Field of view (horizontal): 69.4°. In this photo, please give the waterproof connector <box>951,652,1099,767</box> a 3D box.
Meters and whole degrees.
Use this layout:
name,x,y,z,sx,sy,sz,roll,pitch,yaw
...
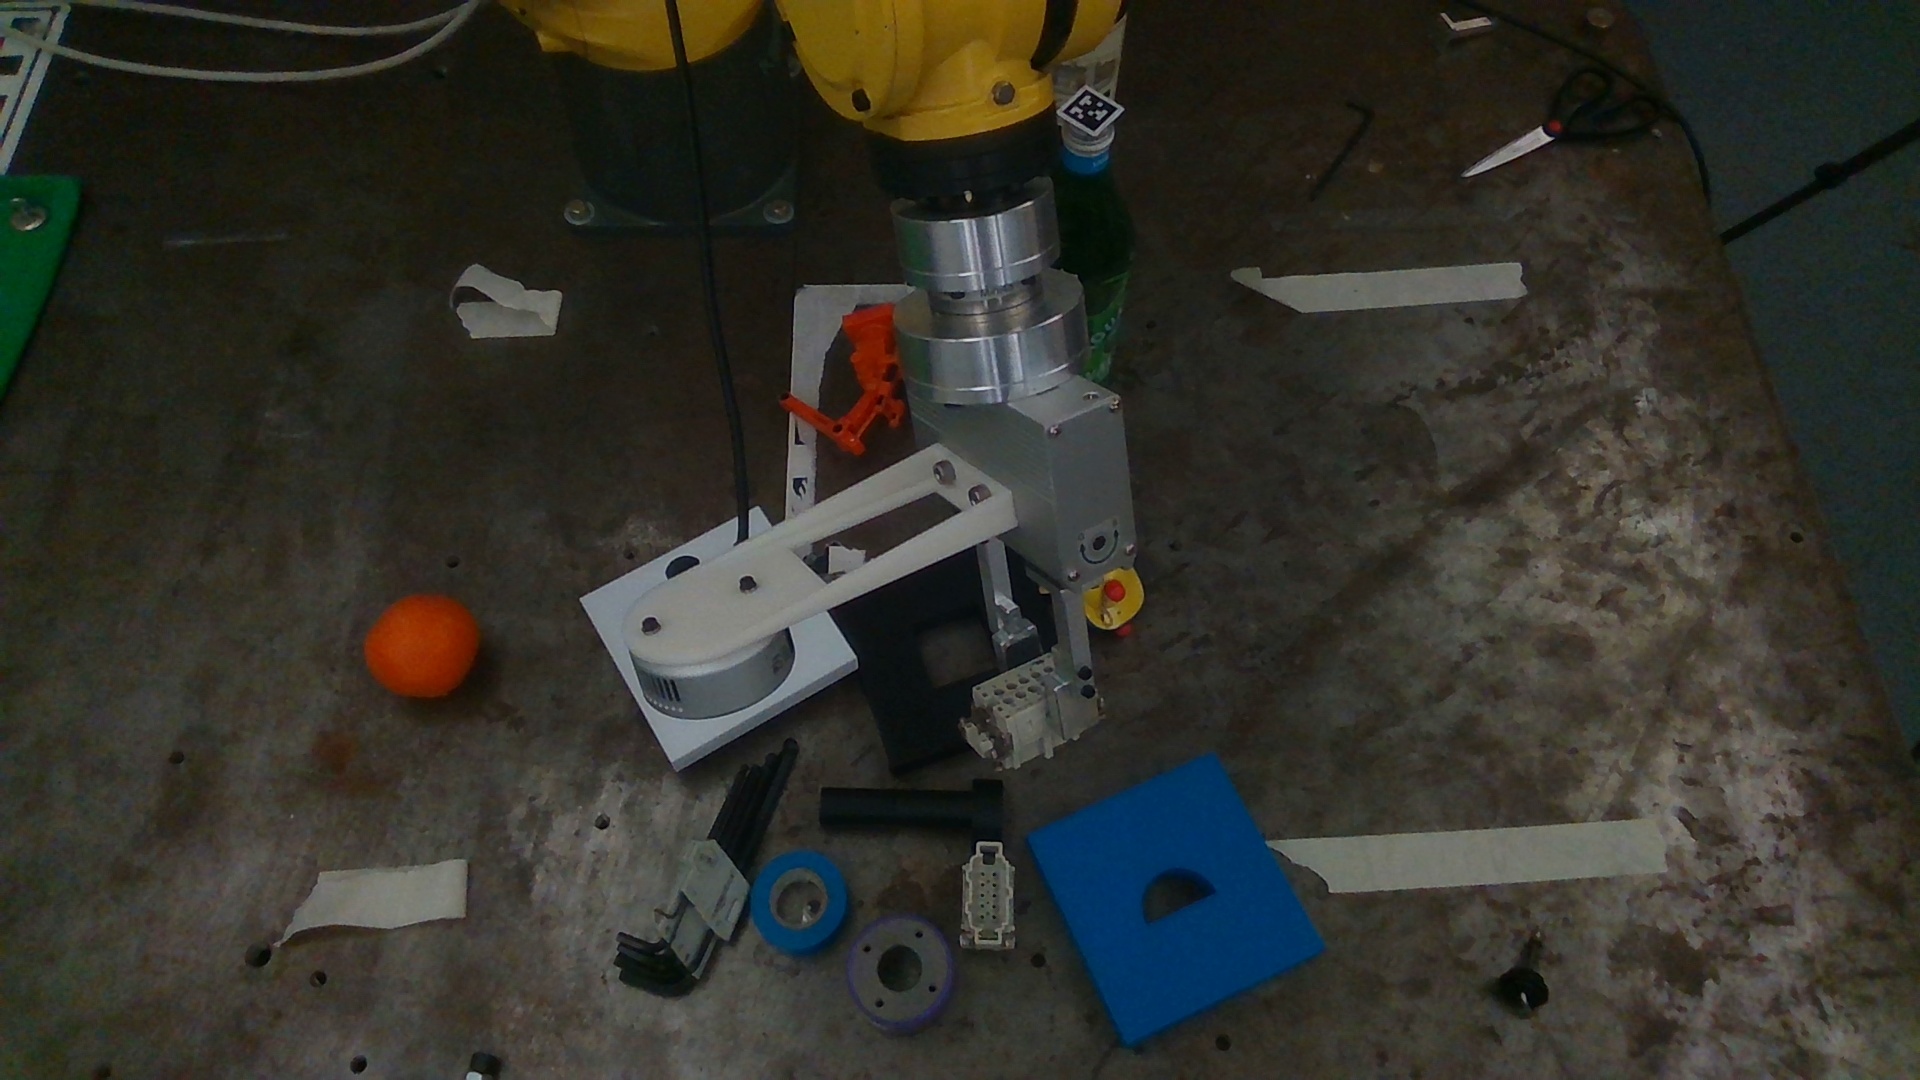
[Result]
name,x,y,z,sx,sy,sz,roll,pitch,yaw
waterproof connector,0.032,0.083,0.667,0.069,0.038,0.037,-19,27,-28
